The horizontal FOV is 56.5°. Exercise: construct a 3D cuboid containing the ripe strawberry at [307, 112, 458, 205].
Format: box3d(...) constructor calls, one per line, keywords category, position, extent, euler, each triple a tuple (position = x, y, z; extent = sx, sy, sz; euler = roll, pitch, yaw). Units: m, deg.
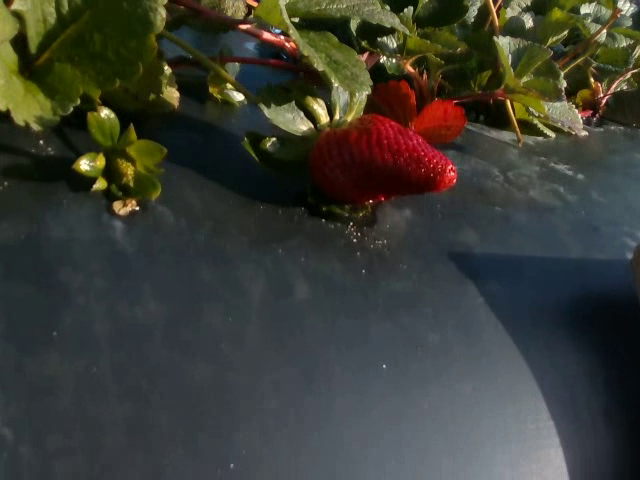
box3d(category="ripe strawberry", position=(0.023, -0.027, 0.202), extent=(0.056, 0.041, 0.041), euler=(16, 53, 34))
